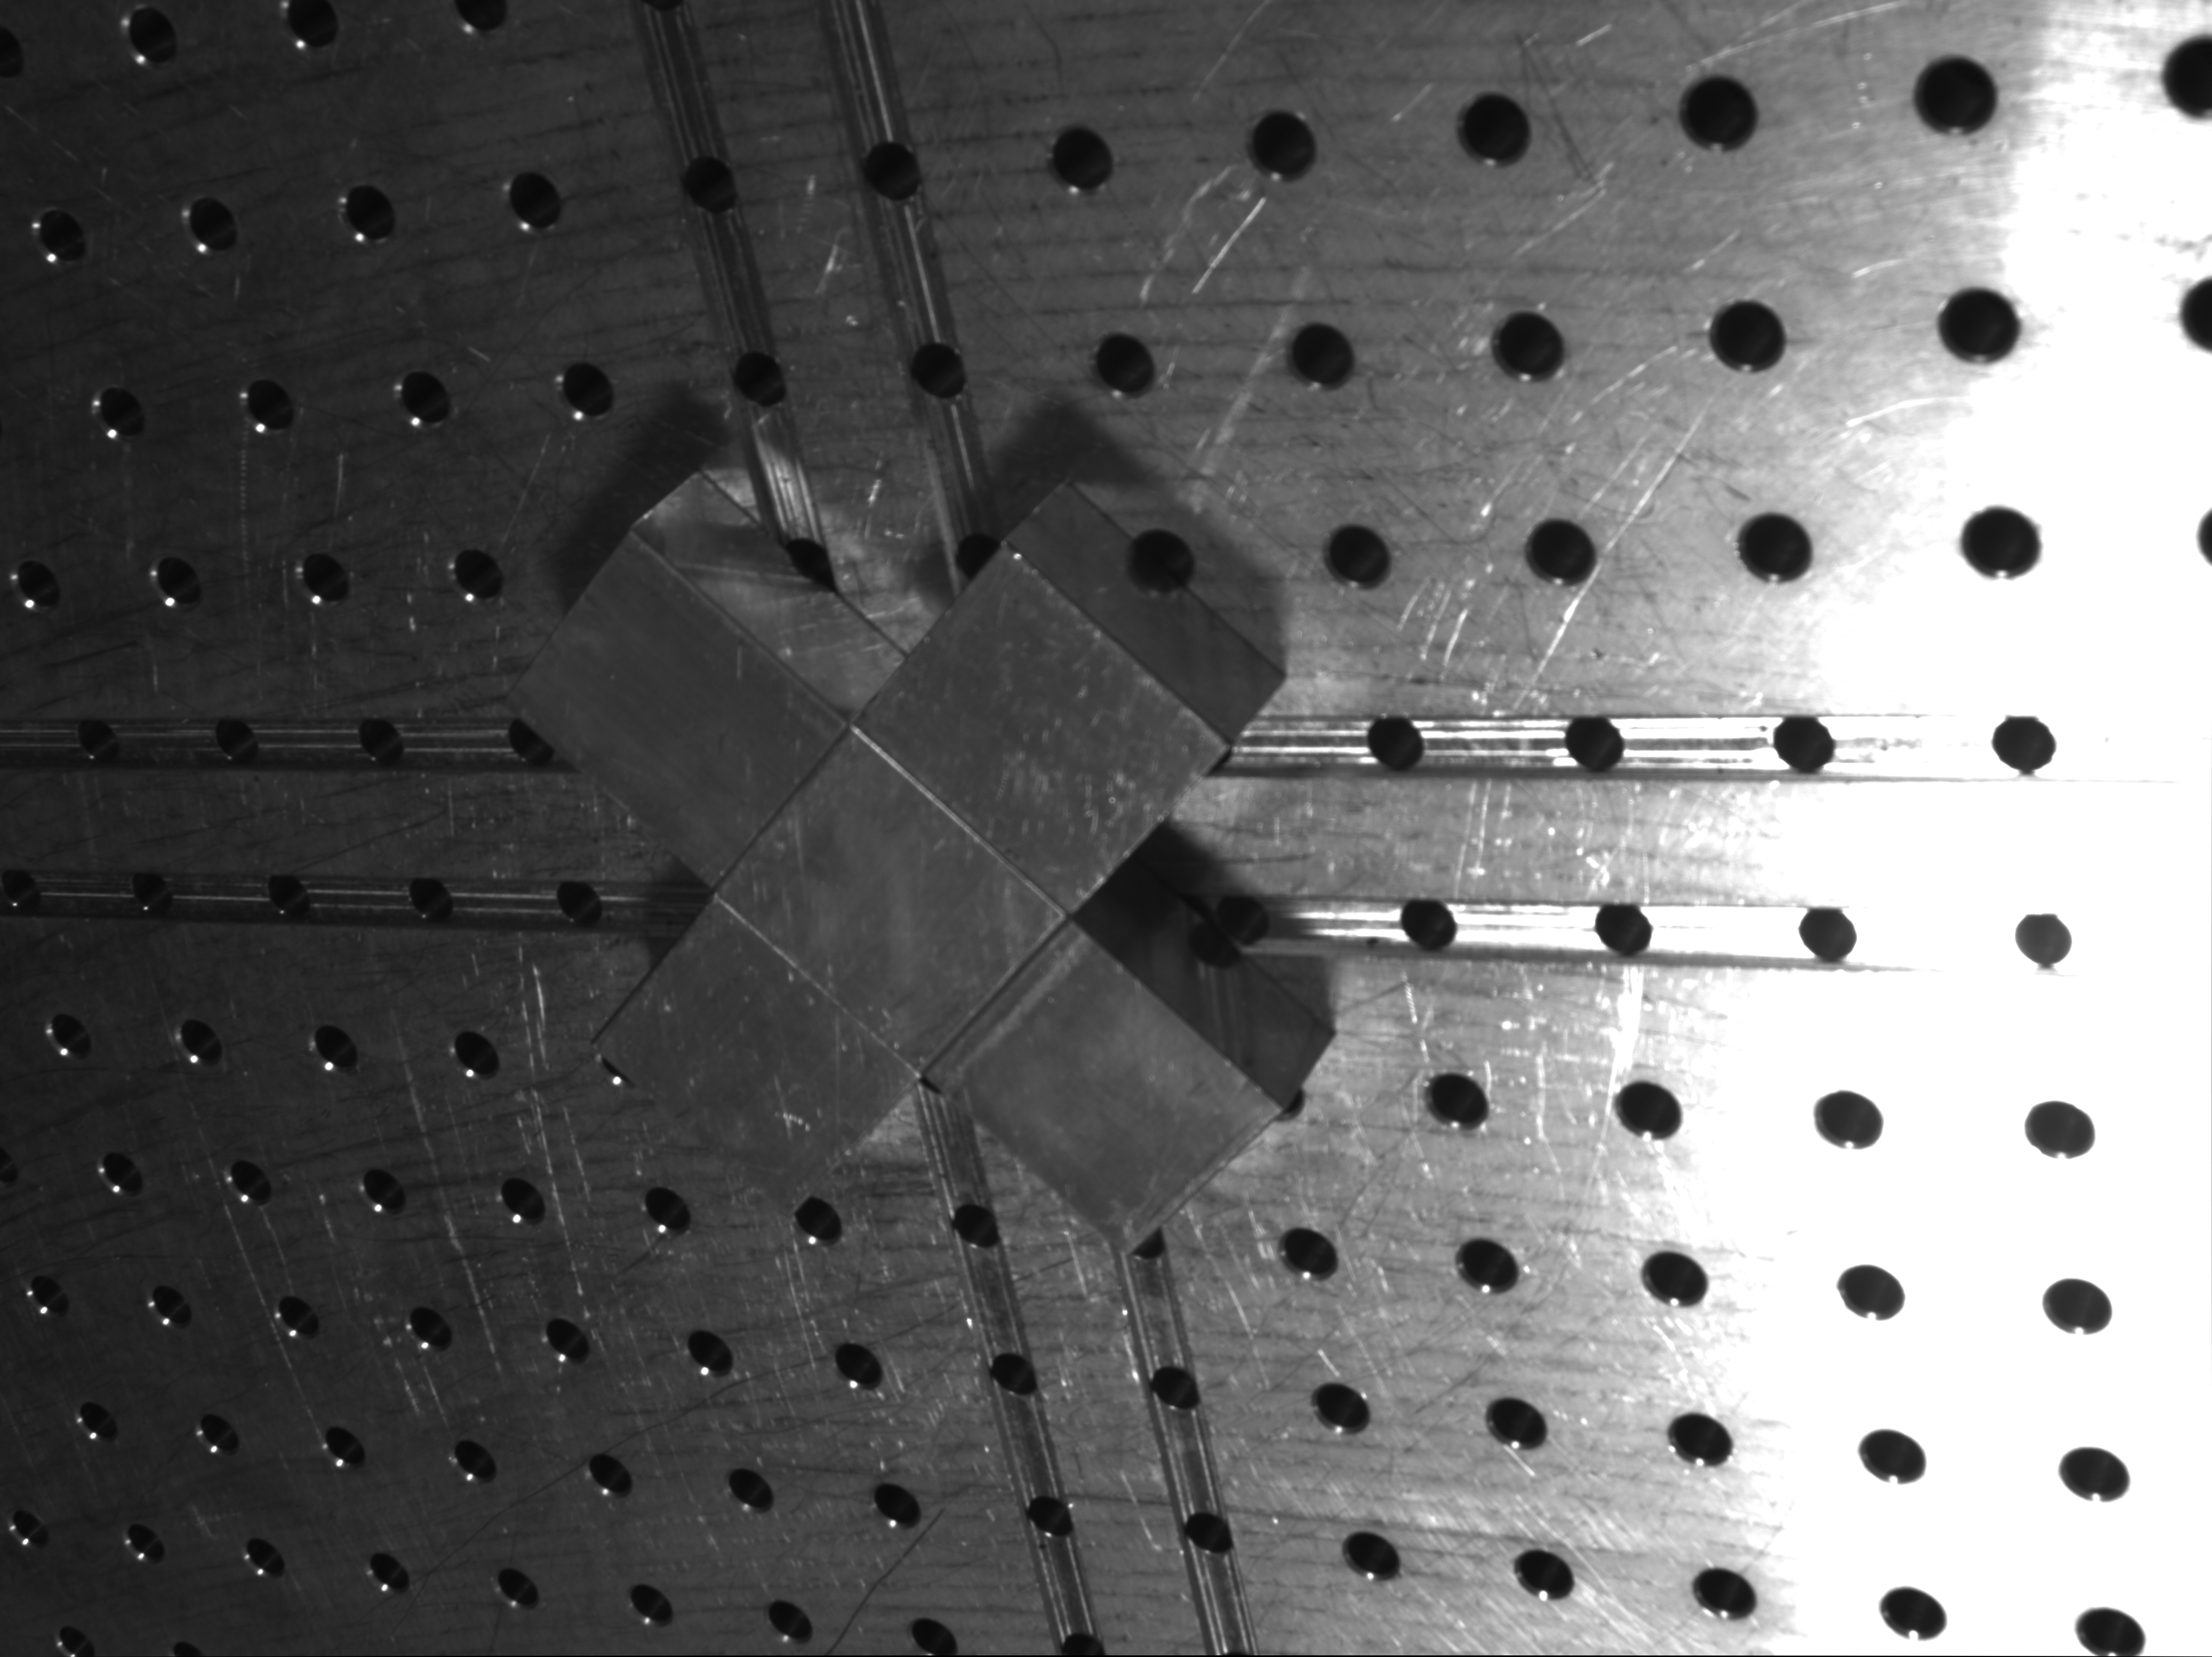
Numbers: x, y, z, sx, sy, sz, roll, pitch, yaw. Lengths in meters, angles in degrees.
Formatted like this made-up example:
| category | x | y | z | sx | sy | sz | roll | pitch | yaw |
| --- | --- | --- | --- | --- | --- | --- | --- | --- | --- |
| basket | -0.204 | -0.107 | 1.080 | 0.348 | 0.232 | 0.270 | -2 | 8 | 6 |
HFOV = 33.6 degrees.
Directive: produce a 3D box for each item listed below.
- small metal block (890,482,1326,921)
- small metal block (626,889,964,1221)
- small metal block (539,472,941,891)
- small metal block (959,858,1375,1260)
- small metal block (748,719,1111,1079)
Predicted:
| category | x | y | z | sx | sy | sz | roll | pitch | yaw |
| --- | --- | --- | --- | --- | --- | --- | --- | --- | --- |
| small metal block | 0.000 | -0.021 | 0.621 | 0.050 | 0.025 | 0.050 | 41 | 128 | -1 |
| small metal block | -0.053 | 0.037 | 0.683 | 0.050 | 0.025 | 0.050 | 41 | 128 | -1 |
| small metal block | -0.065 | -0.026 | 0.651 | 0.050 | 0.025 | 0.050 | 42 | 128 | -1 |
| small metal block | 0.011 | 0.041 | 0.653 | 0.050 | 0.025 | 0.050 | 42 | 128 | -1 |
| small metal block | -0.027 | 0.008 | 0.651 | 0.050 | 0.025 | 0.050 | 41 | 128 | -1 |
